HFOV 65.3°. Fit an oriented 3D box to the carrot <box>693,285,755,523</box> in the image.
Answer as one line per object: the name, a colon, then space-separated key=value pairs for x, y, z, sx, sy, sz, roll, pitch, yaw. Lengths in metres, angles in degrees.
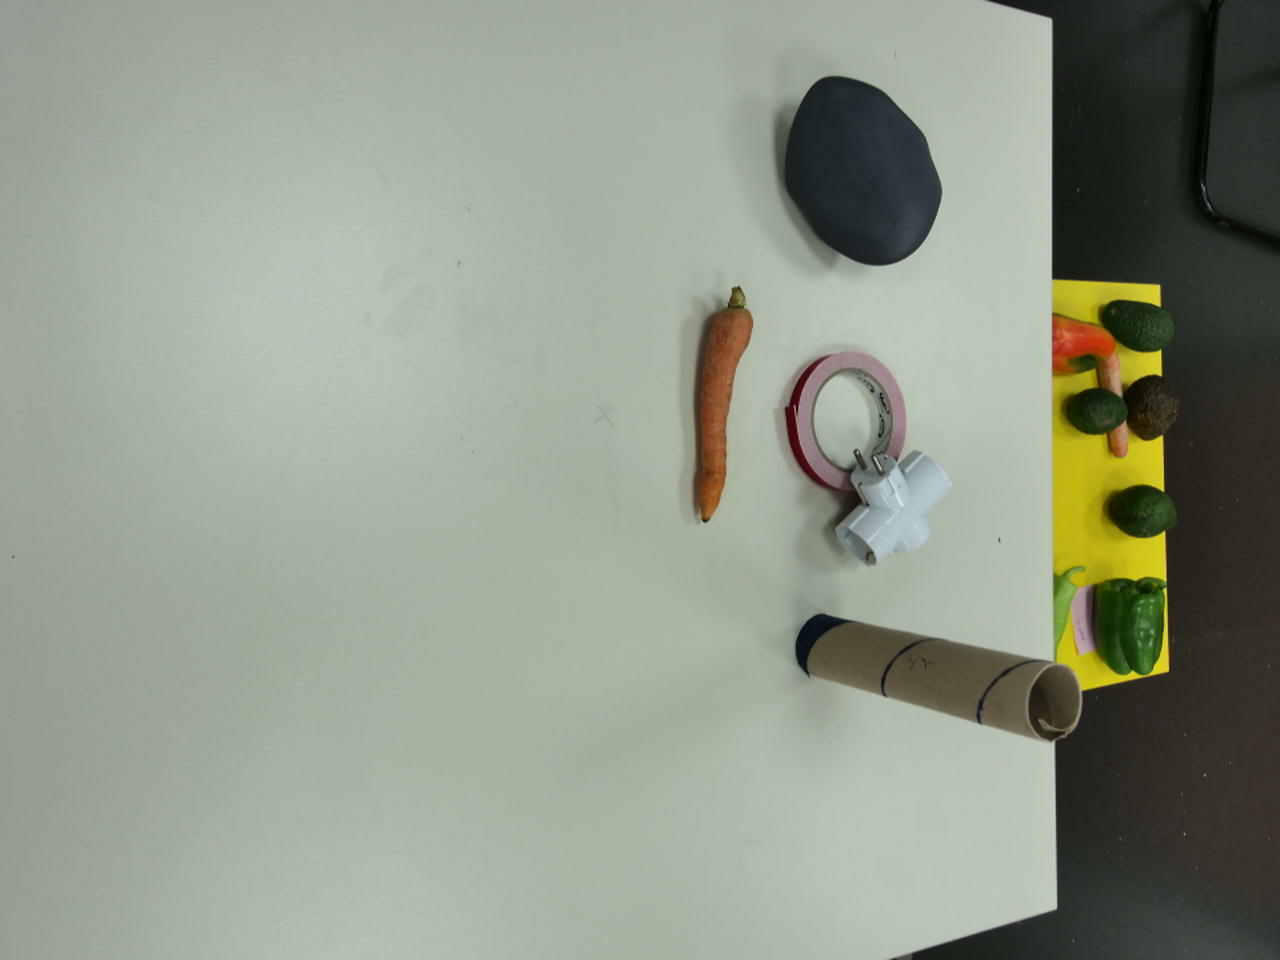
carrot: x=0.058 y=-0.054 z=0.717 sx=0.030 sy=0.032 sz=0.173 roll=10 pitch=86 yaw=-28
